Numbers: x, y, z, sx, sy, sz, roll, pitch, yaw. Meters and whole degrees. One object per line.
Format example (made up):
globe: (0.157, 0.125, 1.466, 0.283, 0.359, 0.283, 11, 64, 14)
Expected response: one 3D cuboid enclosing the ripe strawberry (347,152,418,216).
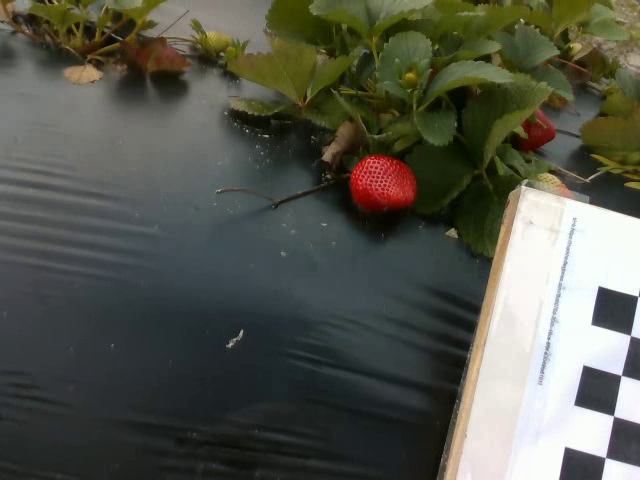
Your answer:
ripe strawberry: (0.032, -0.030, 0.300, 0.037, 0.037, 0.046, -30, 34, 0)
